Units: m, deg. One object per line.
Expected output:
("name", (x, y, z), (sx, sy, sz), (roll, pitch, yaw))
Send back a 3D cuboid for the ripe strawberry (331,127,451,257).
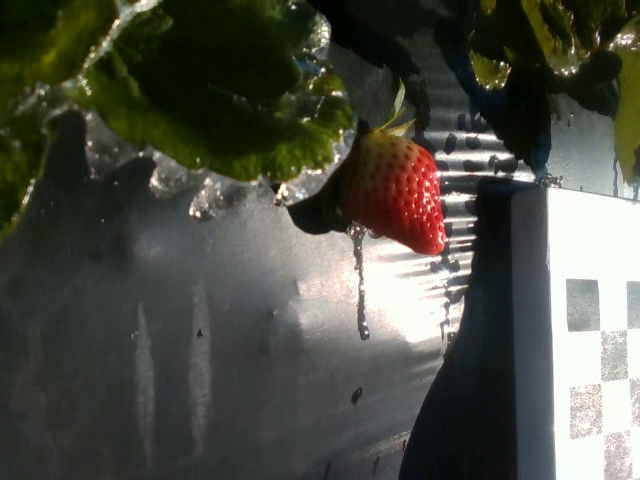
("ripe strawberry", (0.029, -0.015, 0.212), (0.039, 0.053, 0.040), (-22, -7, -32))
